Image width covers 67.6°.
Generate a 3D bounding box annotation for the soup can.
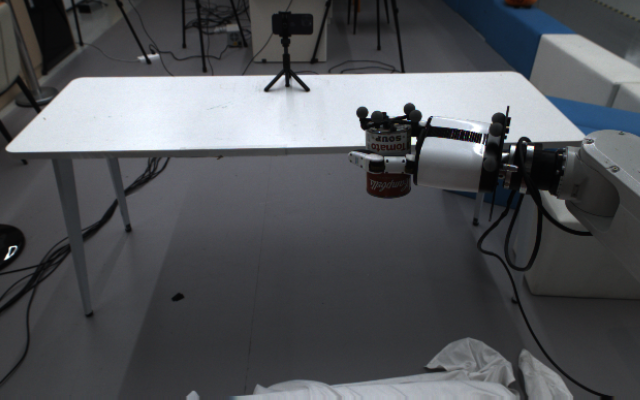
[{"bbox_3d":[0.102,-0.063,0.712,0.067,0.101,0.067,-4,25,2],"label":"soup can"}]
